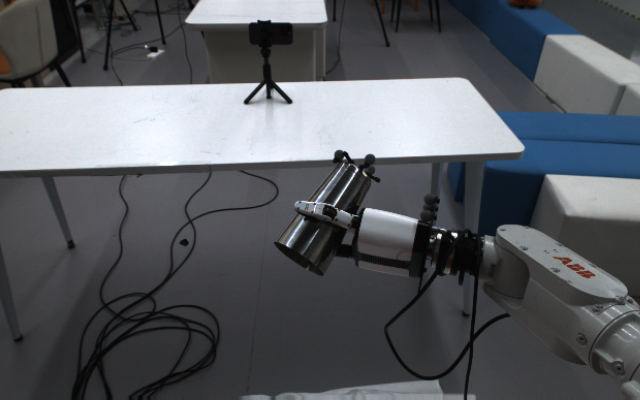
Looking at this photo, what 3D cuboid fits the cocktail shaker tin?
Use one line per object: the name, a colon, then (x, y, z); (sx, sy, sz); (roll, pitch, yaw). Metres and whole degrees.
cocktail shaker tin: (0.011, 0.019, 0.773); (0.093, 0.093, 0.170); (24, 69, 28)
